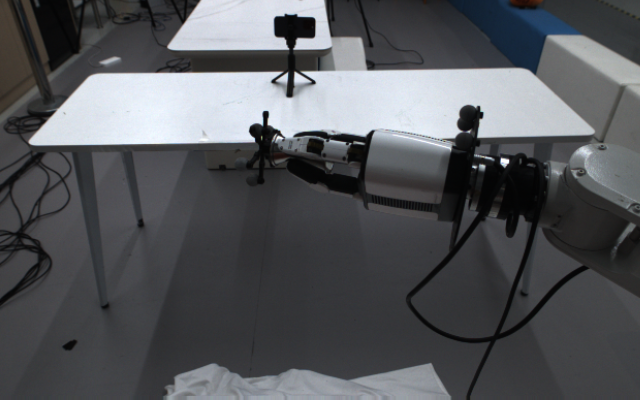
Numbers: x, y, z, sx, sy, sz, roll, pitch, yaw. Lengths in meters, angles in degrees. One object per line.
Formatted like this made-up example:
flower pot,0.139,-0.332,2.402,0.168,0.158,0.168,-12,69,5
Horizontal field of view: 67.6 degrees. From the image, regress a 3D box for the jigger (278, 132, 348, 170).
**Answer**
jigger,-0.014,-0.060,0.569,0.071,0.043,0.043,8,35,16
